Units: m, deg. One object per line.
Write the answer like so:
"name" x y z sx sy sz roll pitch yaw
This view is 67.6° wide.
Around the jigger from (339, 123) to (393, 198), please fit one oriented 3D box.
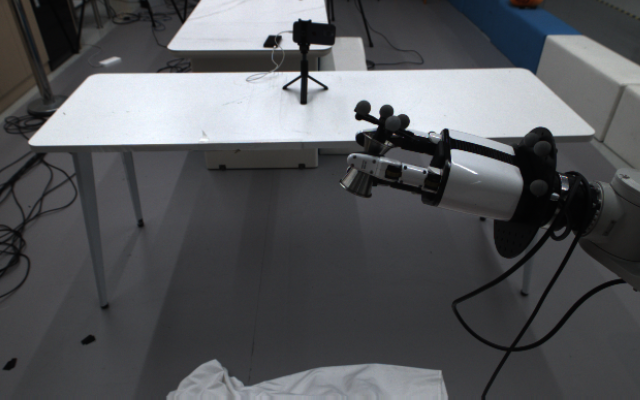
"jigger" 0.055 -0.043 0.577 0.043 0.071 0.043 23 19 -8
